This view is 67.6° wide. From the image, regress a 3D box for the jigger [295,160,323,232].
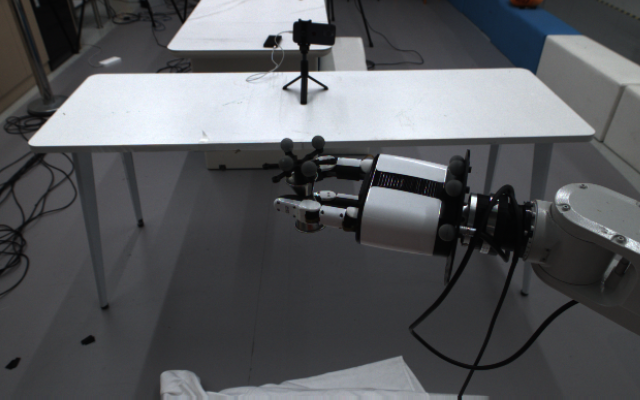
[{"bbox_3d":[-0.015,-0.002,0.601,0.043,0.071,0.043,-9,31,5],"label":"jigger"}]
